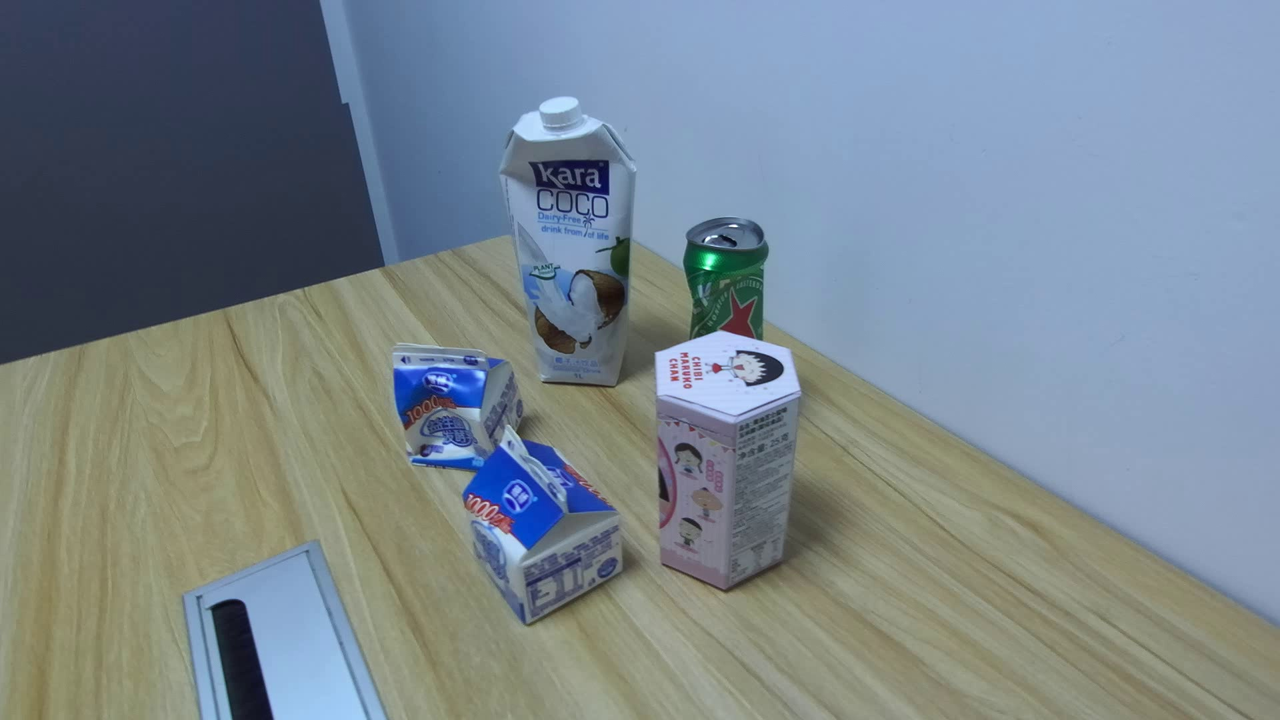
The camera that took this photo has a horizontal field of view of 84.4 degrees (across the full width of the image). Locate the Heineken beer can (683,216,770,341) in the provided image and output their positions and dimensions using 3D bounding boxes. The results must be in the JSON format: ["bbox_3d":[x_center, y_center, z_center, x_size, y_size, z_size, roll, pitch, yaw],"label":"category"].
[{"bbox_3d":[0.066,-0.023,0.538,0.078,0.164,0.066,-14,35,-15],"label":"Heineken beer can"}]

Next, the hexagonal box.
[{"bbox_3d":[0.049,0.062,0.433,0.084,0.136,0.091,-1,33,0],"label":"hexagonal box"}]

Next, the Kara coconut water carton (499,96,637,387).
[{"bbox_3d":[-0.054,-0.092,0.579,0.115,0.239,0.069,5,35,10],"label":"Kara coconut water carton"}]

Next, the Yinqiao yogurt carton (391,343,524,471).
[{"bbox_3d":[-0.140,0.027,0.537,0.077,0.094,0.071,4,38,10],"label":"Yinqiao yogurt carton"}]

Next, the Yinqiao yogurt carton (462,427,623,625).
[{"bbox_3d":[-0.060,0.093,0.434,0.074,0.092,0.075,-23,40,-29],"label":"Yinqiao yogurt carton"}]
